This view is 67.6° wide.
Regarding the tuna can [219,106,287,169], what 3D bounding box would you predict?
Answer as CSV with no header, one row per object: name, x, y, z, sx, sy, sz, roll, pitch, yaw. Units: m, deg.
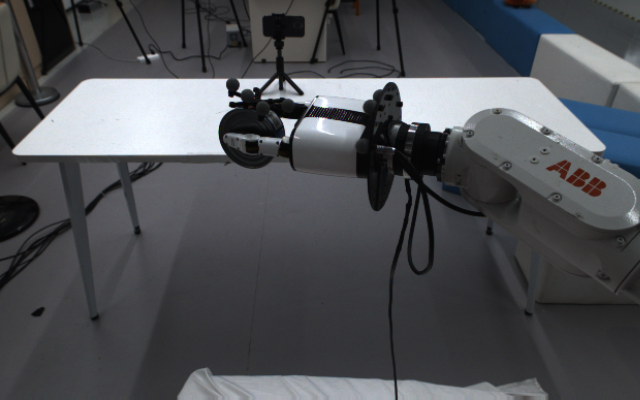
tuna can,-0.090,-0.087,0.656,0.085,0.085,0.034,12,30,15
